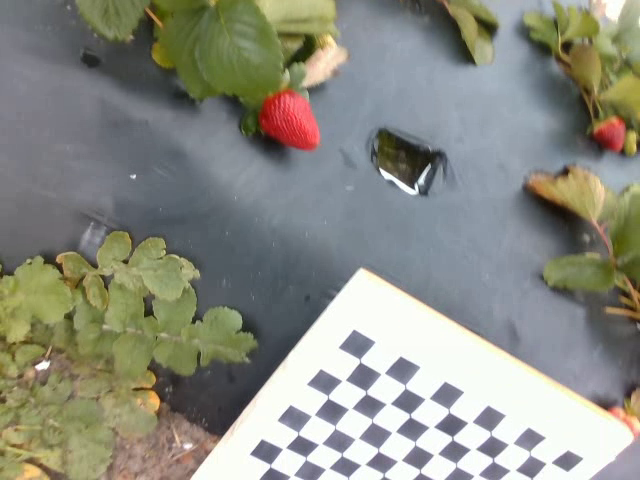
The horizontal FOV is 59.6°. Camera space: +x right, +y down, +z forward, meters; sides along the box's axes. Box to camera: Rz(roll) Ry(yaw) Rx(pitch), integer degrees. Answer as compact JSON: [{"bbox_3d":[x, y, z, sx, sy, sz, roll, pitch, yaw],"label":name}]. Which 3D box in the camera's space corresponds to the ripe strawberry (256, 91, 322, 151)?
[{"bbox_3d":[-0.025,-0.096,0.451,0.046,0.064,0.048,-45,-17,26],"label":"ripe strawberry"}]
